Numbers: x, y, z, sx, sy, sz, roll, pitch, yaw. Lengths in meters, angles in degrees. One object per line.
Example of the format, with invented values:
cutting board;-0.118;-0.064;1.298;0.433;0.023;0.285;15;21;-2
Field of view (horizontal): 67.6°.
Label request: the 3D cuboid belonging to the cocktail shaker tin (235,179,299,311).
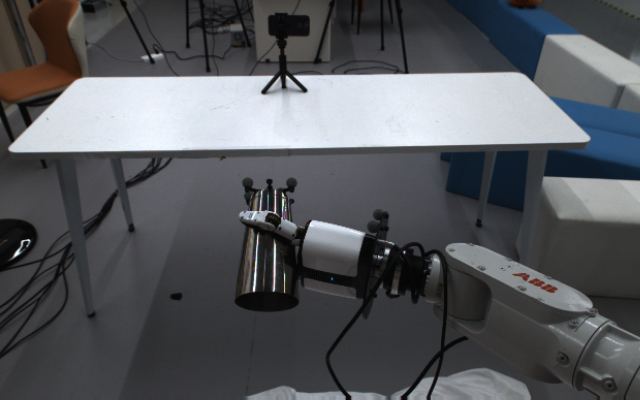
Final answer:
cocktail shaker tin;-0.079;0.072;0.726;0.093;0.093;0.170;0;59;-3
